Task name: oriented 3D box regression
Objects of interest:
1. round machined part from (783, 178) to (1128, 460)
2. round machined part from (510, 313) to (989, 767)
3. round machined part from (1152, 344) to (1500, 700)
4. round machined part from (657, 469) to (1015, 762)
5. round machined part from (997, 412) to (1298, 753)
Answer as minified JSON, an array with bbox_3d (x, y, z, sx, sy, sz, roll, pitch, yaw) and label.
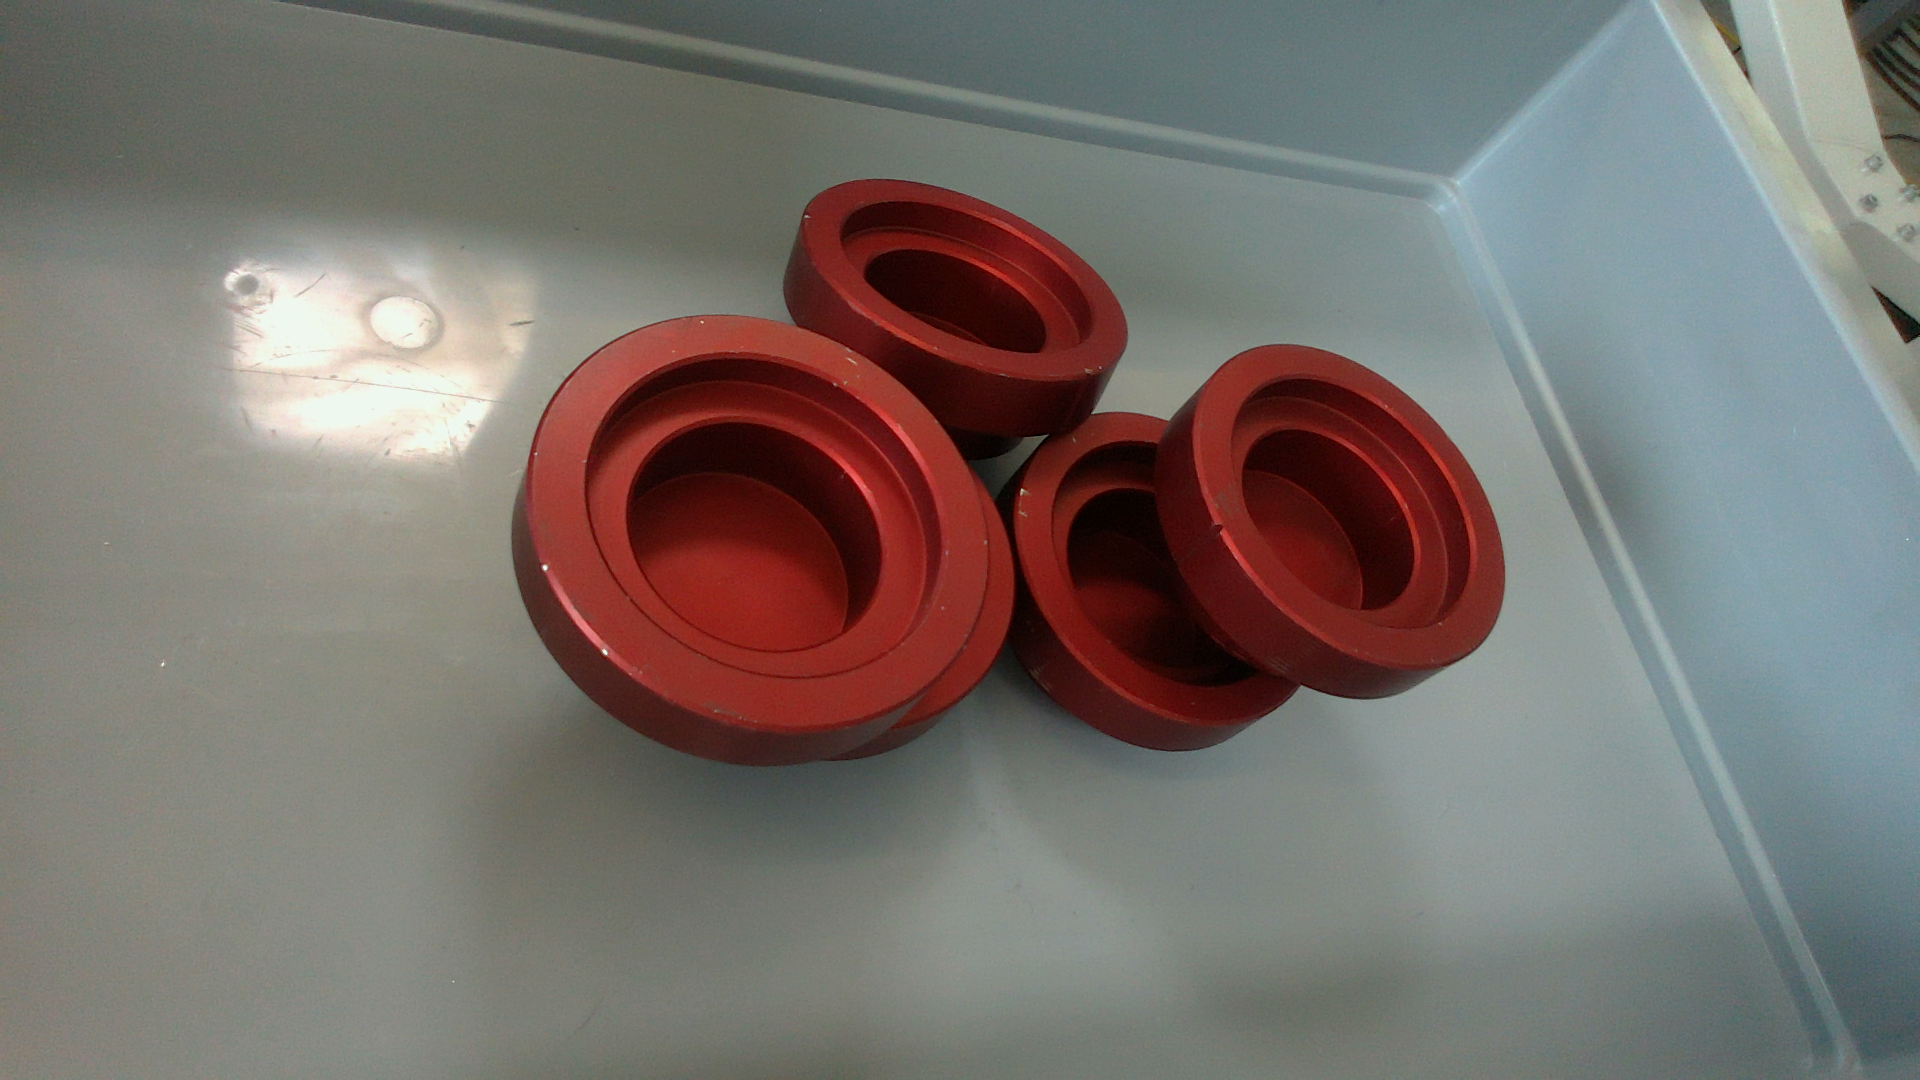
[{"bbox_3d":[-0.004,-0.061,0.400,0.098,0.042,0.098,16,38,-13],"label":"round machined part"},{"bbox_3d":[-0.046,0.003,0.297,0.098,0.042,0.098,14,56,-21],"label":"round machined part"},{"bbox_3d":[0.094,-0.002,0.376,0.098,0.042,0.098,14,56,-21],"label":"round machined part"},{"bbox_3d":[-0.039,0.010,0.350,0.098,0.042,0.098,14,56,-21],"label":"round machined part"},{"bbox_3d":[0.051,0.015,0.396,0.098,0.042,0.098,14,56,-21],"label":"round machined part"}]
